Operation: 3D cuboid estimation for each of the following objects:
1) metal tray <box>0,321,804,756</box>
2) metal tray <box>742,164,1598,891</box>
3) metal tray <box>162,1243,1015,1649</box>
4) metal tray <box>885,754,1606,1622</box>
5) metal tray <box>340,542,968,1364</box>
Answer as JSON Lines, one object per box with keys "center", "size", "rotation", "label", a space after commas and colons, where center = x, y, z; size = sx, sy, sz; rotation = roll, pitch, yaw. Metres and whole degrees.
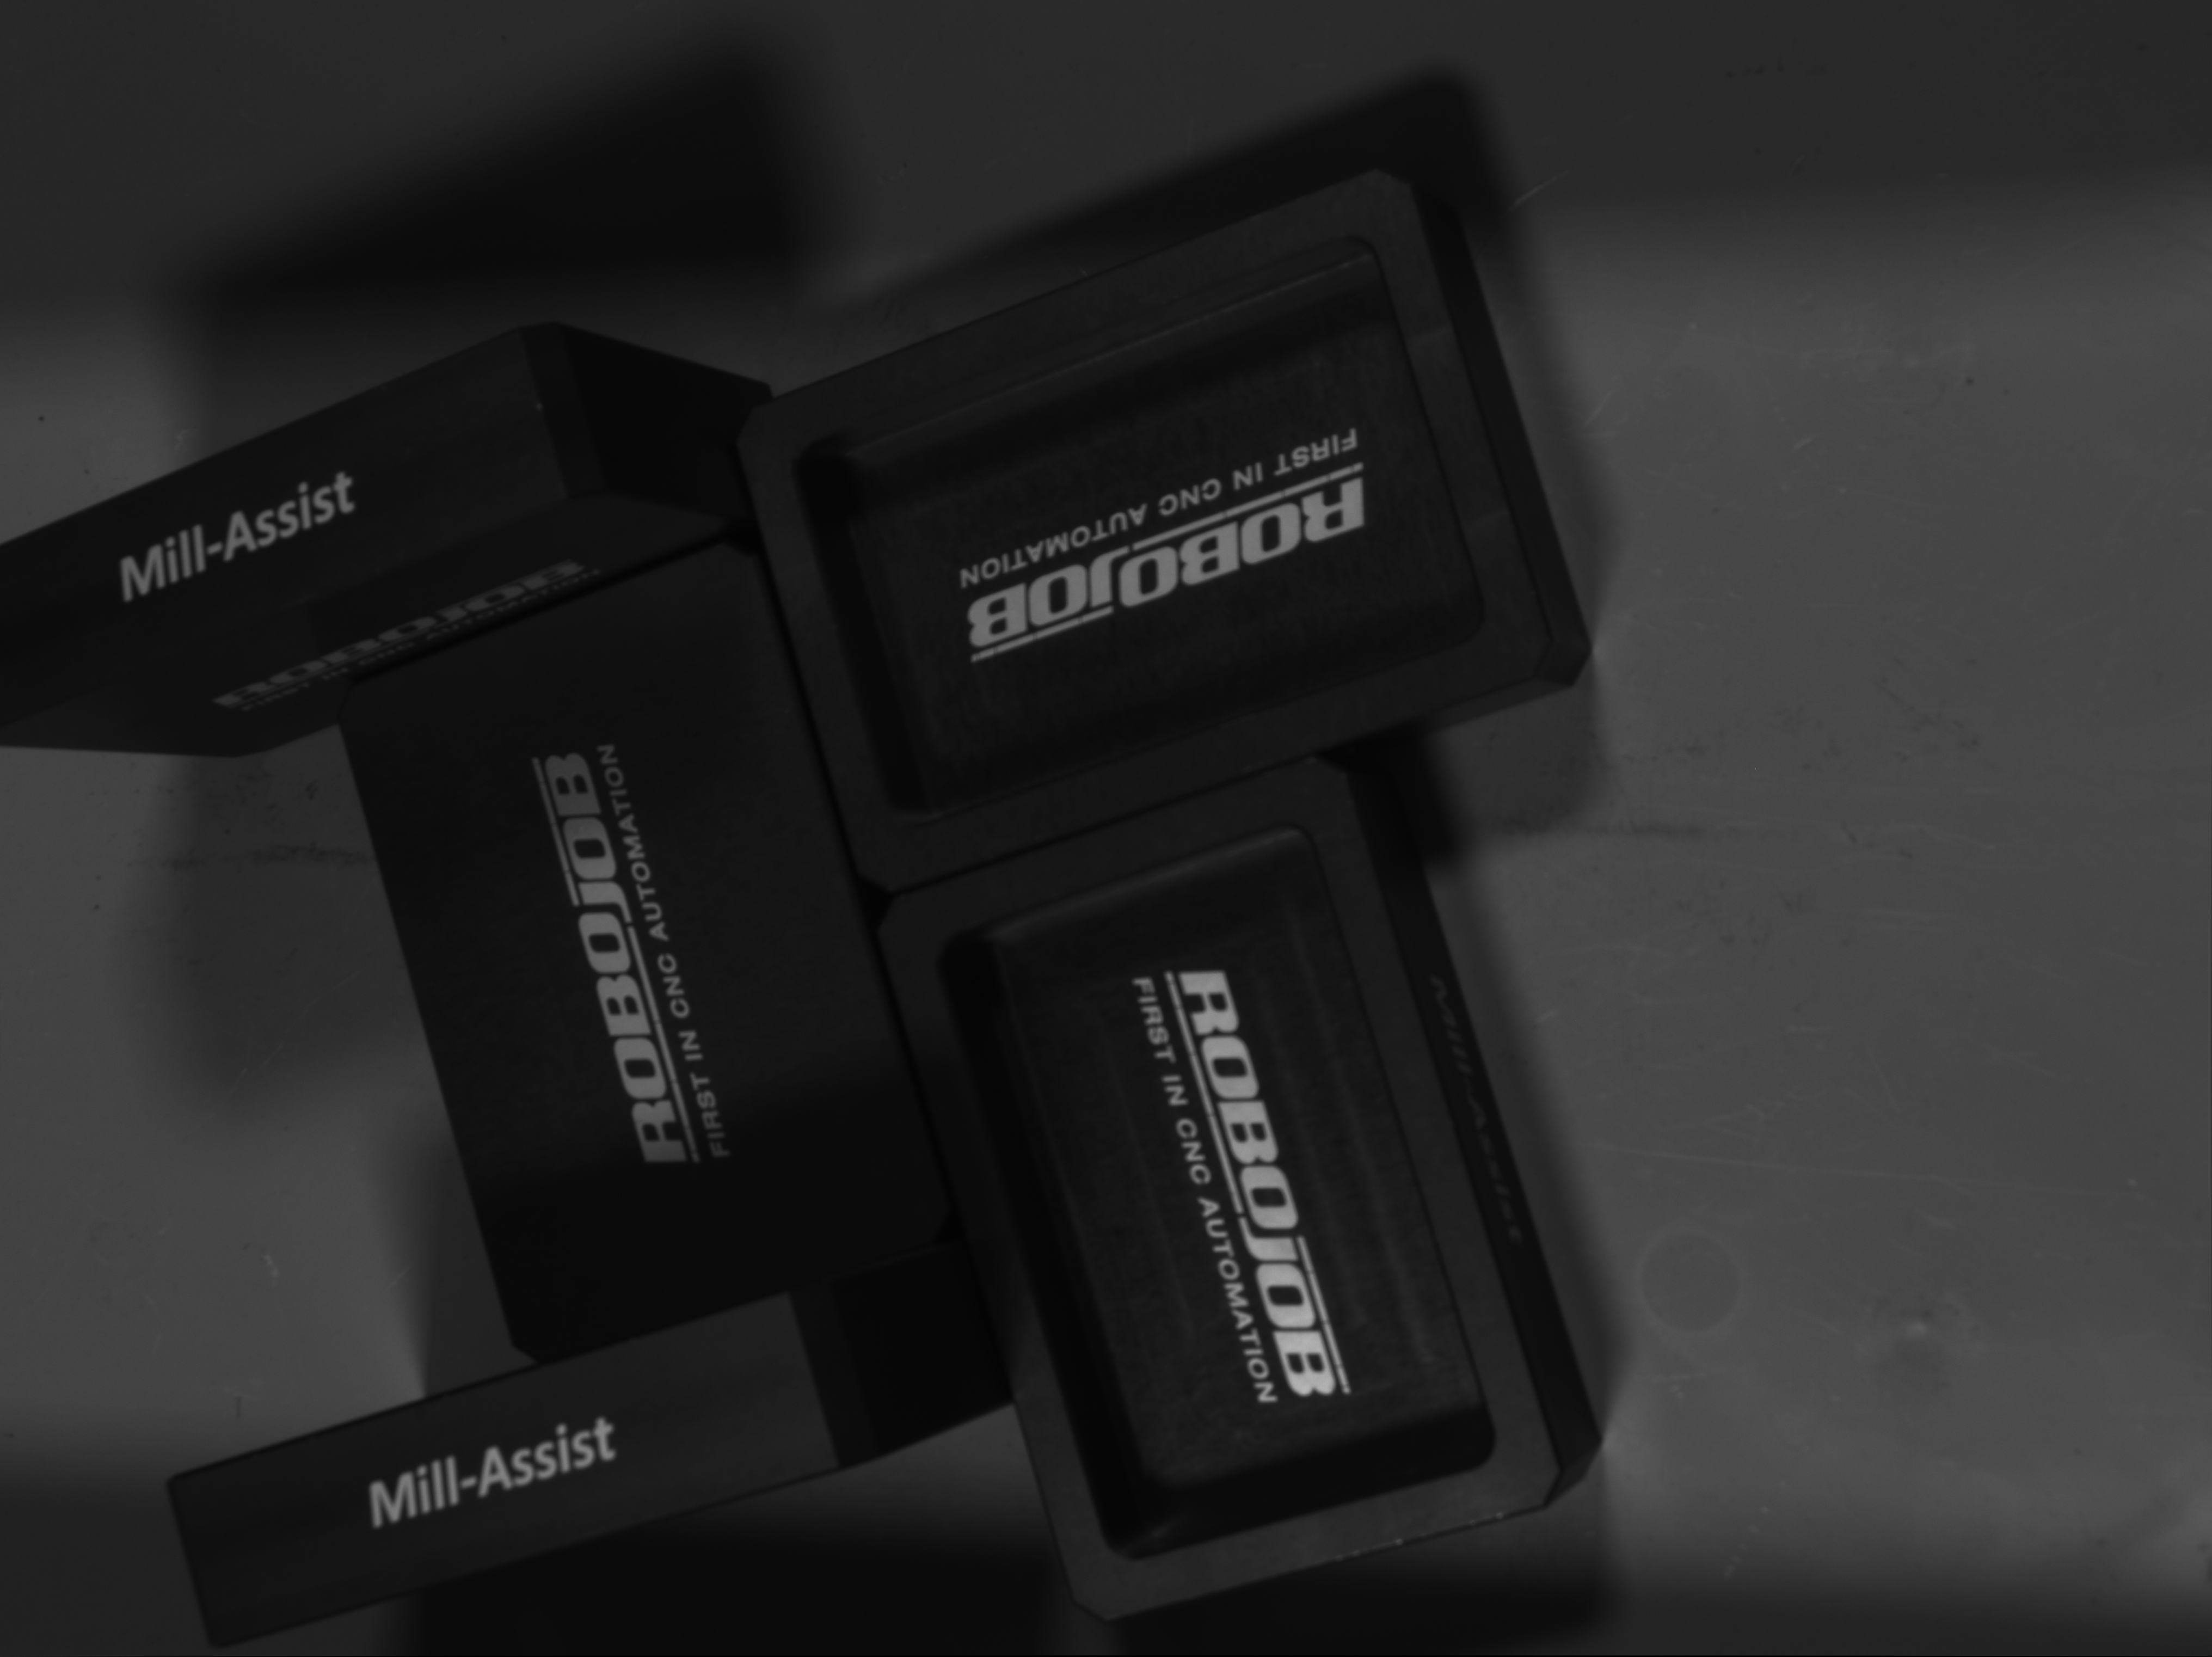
{"center": [-0.130, -0.048, 0.653], "size": [0.130, 0.090, 0.030], "rotation": [-19, 83, 19], "label": "metal tray"}
{"center": [0.010, -0.050, 0.637], "size": [0.130, 0.030, 0.090], "rotation": [-18, 84, 19], "label": "metal tray"}
{"center": [-0.084, 0.105, 0.637], "size": [0.130, 0.090, 0.030], "rotation": [-18, 84, 19], "label": "metal tray"}
{"center": [0.023, 0.062, 0.632], "size": [0.090, 0.030, 0.130], "rotation": [-18, 84, 19], "label": "metal tray"}
{"center": [-0.079, 0.023, 0.667], "size": [0.090, 0.030, 0.130], "rotation": [-18, 84, 19], "label": "metal tray"}
